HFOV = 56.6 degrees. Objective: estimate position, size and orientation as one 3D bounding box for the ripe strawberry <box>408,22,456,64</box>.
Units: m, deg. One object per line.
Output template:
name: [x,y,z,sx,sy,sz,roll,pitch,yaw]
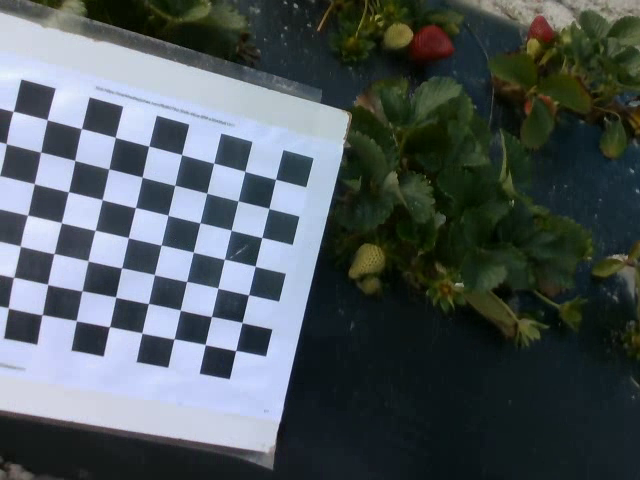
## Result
ripe strawberry: [0.137,-0.234,0.705,0.048,0.051,0.055,49,-3,-43]
